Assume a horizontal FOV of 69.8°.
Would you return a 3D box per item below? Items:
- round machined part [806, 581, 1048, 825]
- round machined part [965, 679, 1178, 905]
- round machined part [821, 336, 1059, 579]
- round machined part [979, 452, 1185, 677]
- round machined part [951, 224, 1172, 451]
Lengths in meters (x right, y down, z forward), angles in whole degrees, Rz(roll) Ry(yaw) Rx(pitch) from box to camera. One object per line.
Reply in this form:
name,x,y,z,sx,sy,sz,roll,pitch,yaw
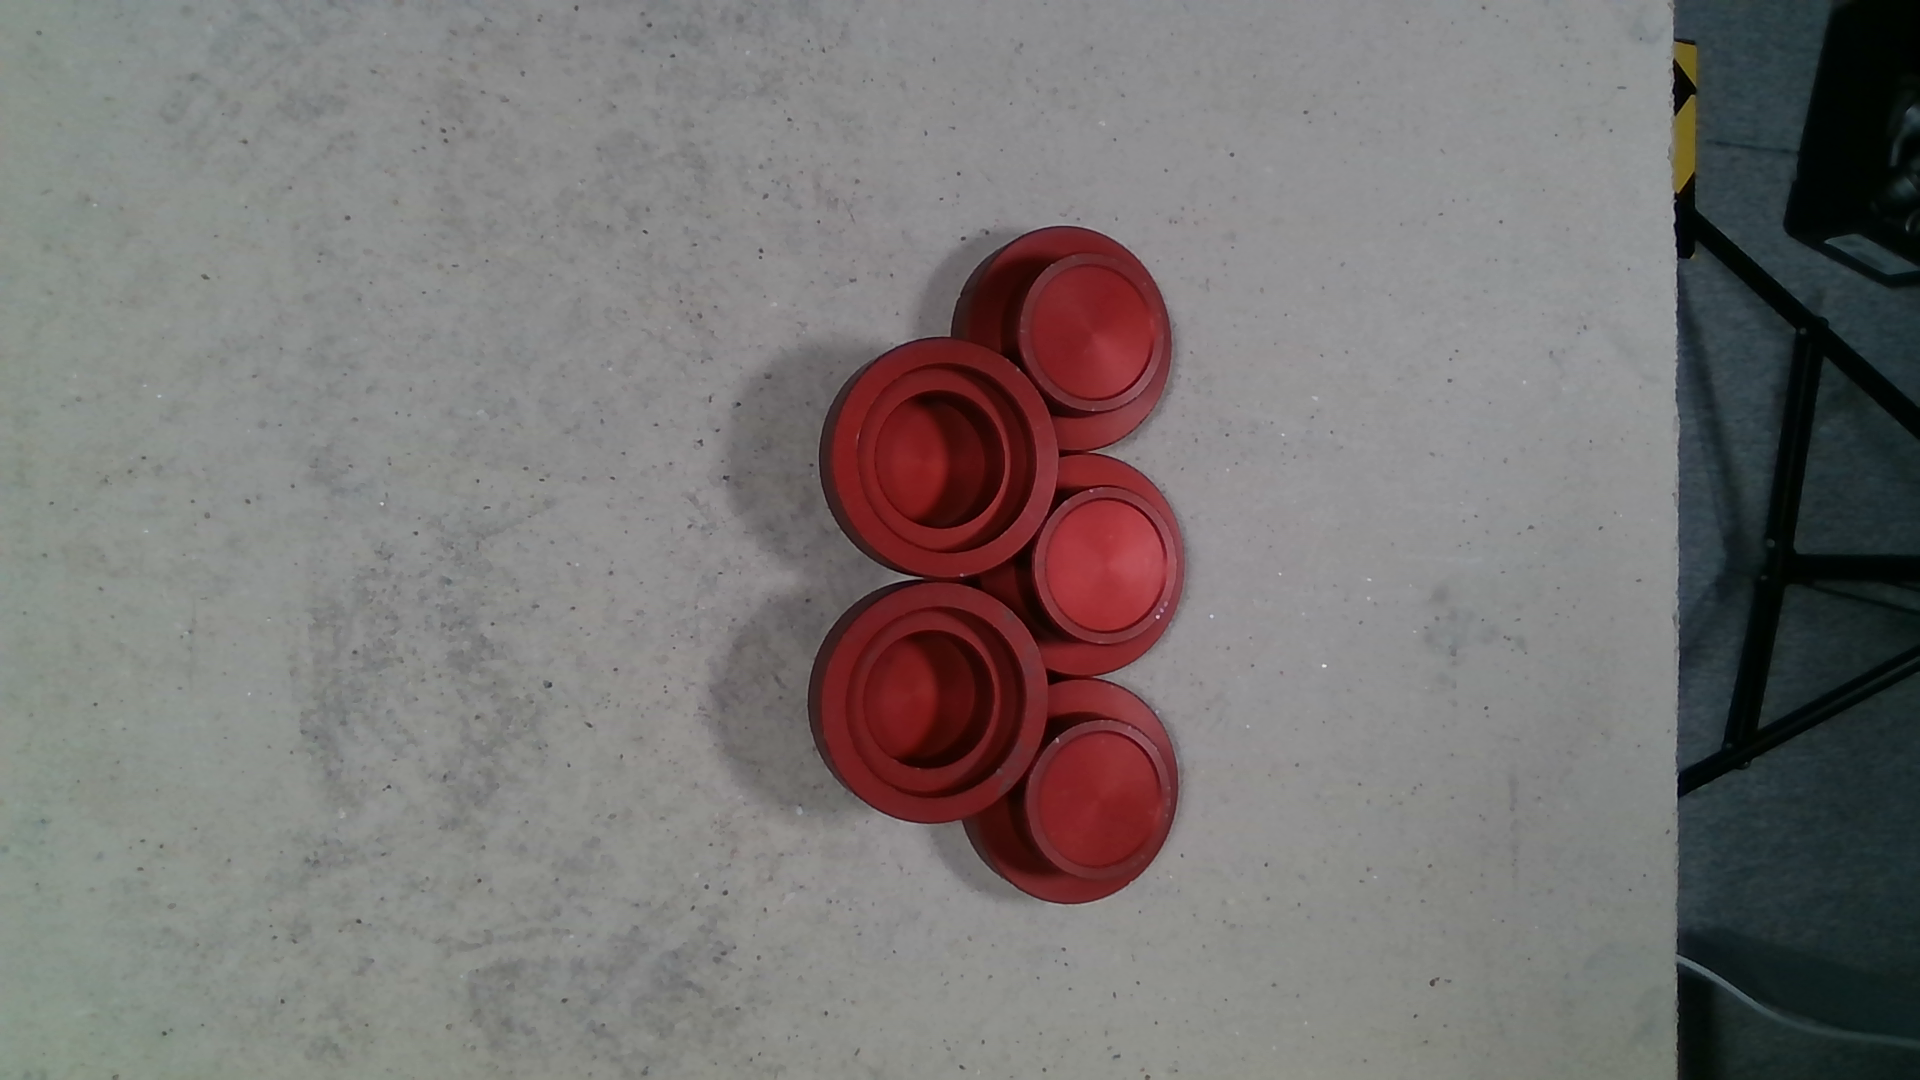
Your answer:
round machined part,-0.016,0.065,0.571,0.098,0.042,0.098,0,90,-20
round machined part,0.052,0.109,0.597,0.098,0.042,0.098,0,90,-20
round machined part,-0.012,-0.033,0.572,0.098,0.042,0.098,0,90,-20
round machined part,0.055,0.011,0.598,0.098,0.042,0.098,0,90,-20
round machined part,0.049,-0.088,0.595,0.098,0.042,0.098,0,90,-20
